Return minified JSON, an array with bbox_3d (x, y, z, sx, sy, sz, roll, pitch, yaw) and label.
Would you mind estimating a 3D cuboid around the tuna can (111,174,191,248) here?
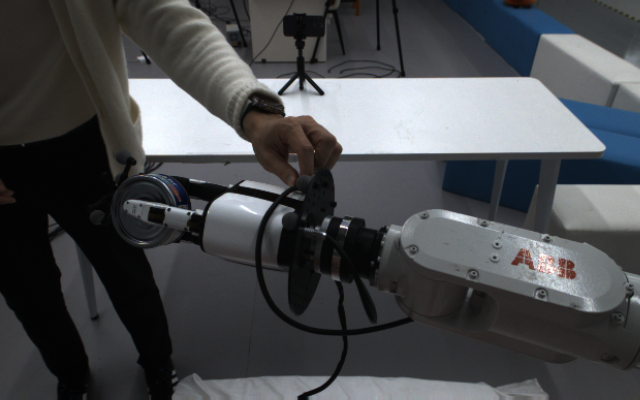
[{"bbox_3d":[-0.193,0.016,0.553,0.085,0.085,0.034,9,6,10],"label":"tuna can"}]
